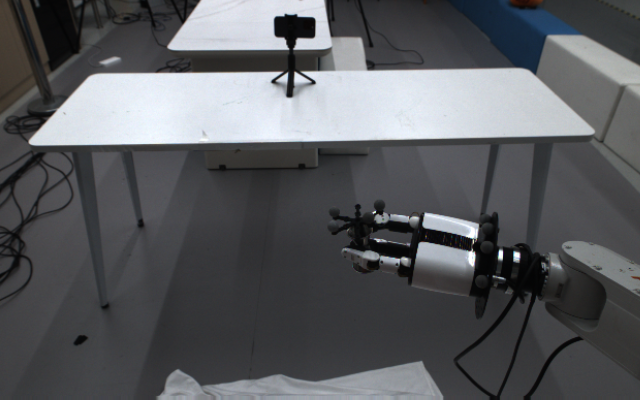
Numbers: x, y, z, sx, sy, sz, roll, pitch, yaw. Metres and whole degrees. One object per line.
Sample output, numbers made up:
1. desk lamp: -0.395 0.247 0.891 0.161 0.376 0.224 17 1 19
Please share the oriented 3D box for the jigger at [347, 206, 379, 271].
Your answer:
1. jigger: 0.067 0.074 0.753 0.043 0.071 0.043 -10 32 6
